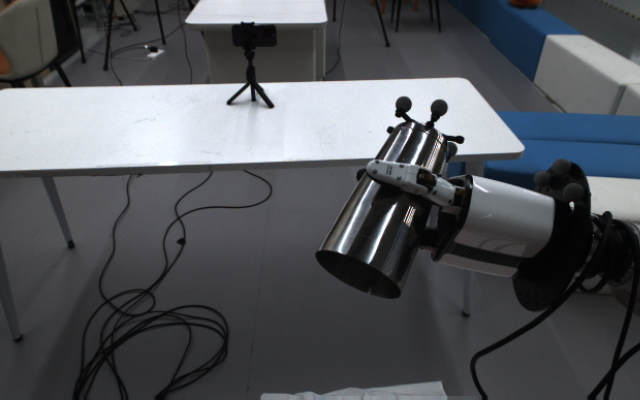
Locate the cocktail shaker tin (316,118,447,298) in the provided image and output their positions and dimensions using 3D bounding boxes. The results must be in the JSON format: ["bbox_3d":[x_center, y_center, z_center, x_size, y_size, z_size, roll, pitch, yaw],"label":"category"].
[{"bbox_3d":[0.076,0.002,0.500,0.093,0.093,0.170,18,66,22],"label":"cocktail shaker tin"}]
